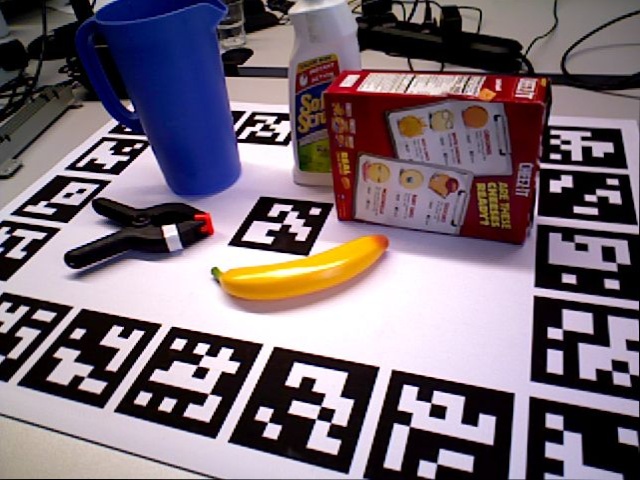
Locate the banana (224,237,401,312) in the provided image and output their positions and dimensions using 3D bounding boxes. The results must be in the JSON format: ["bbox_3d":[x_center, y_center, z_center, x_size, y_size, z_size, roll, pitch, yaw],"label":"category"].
[{"bbox_3d":[0.000,0.037,0.568,0.195,0.039,0.073,-16,38,-9],"label":"banana"}]

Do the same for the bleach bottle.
[{"bbox_3d":[0.003,-0.176,0.650,0.103,0.256,0.066,6,40,17],"label":"bleach bottle"}]

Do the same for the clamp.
[{"bbox_3d":[-0.203,-0.006,0.648,0.165,0.037,0.119,-3,37,3],"label":"clamp"}]

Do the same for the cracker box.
[{"bbox_3d":[0.131,-0.093,0.567,0.214,0.167,0.070,6,38,20],"label":"cracker box"}]

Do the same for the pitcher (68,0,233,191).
[{"bbox_3d":[-0.188,-0.186,0.666,0.188,0.247,0.131,-4,38,1],"label":"pitcher"}]
